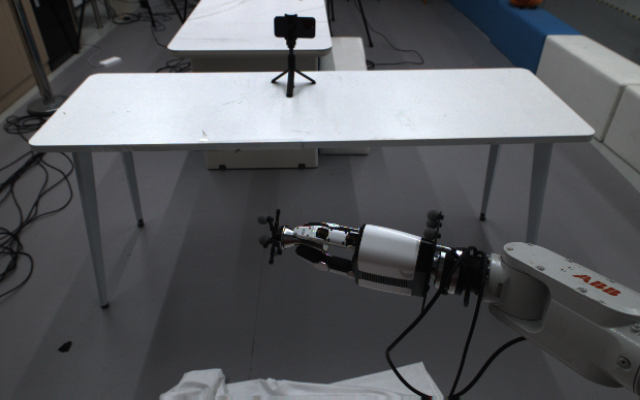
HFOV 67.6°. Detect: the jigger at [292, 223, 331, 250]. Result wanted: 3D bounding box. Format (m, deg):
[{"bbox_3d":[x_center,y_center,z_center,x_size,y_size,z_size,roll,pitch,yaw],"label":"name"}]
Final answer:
[{"bbox_3d":[-0.015,0.056,0.761,0.071,0.043,0.043,2,34,14],"label":"jigger"}]
